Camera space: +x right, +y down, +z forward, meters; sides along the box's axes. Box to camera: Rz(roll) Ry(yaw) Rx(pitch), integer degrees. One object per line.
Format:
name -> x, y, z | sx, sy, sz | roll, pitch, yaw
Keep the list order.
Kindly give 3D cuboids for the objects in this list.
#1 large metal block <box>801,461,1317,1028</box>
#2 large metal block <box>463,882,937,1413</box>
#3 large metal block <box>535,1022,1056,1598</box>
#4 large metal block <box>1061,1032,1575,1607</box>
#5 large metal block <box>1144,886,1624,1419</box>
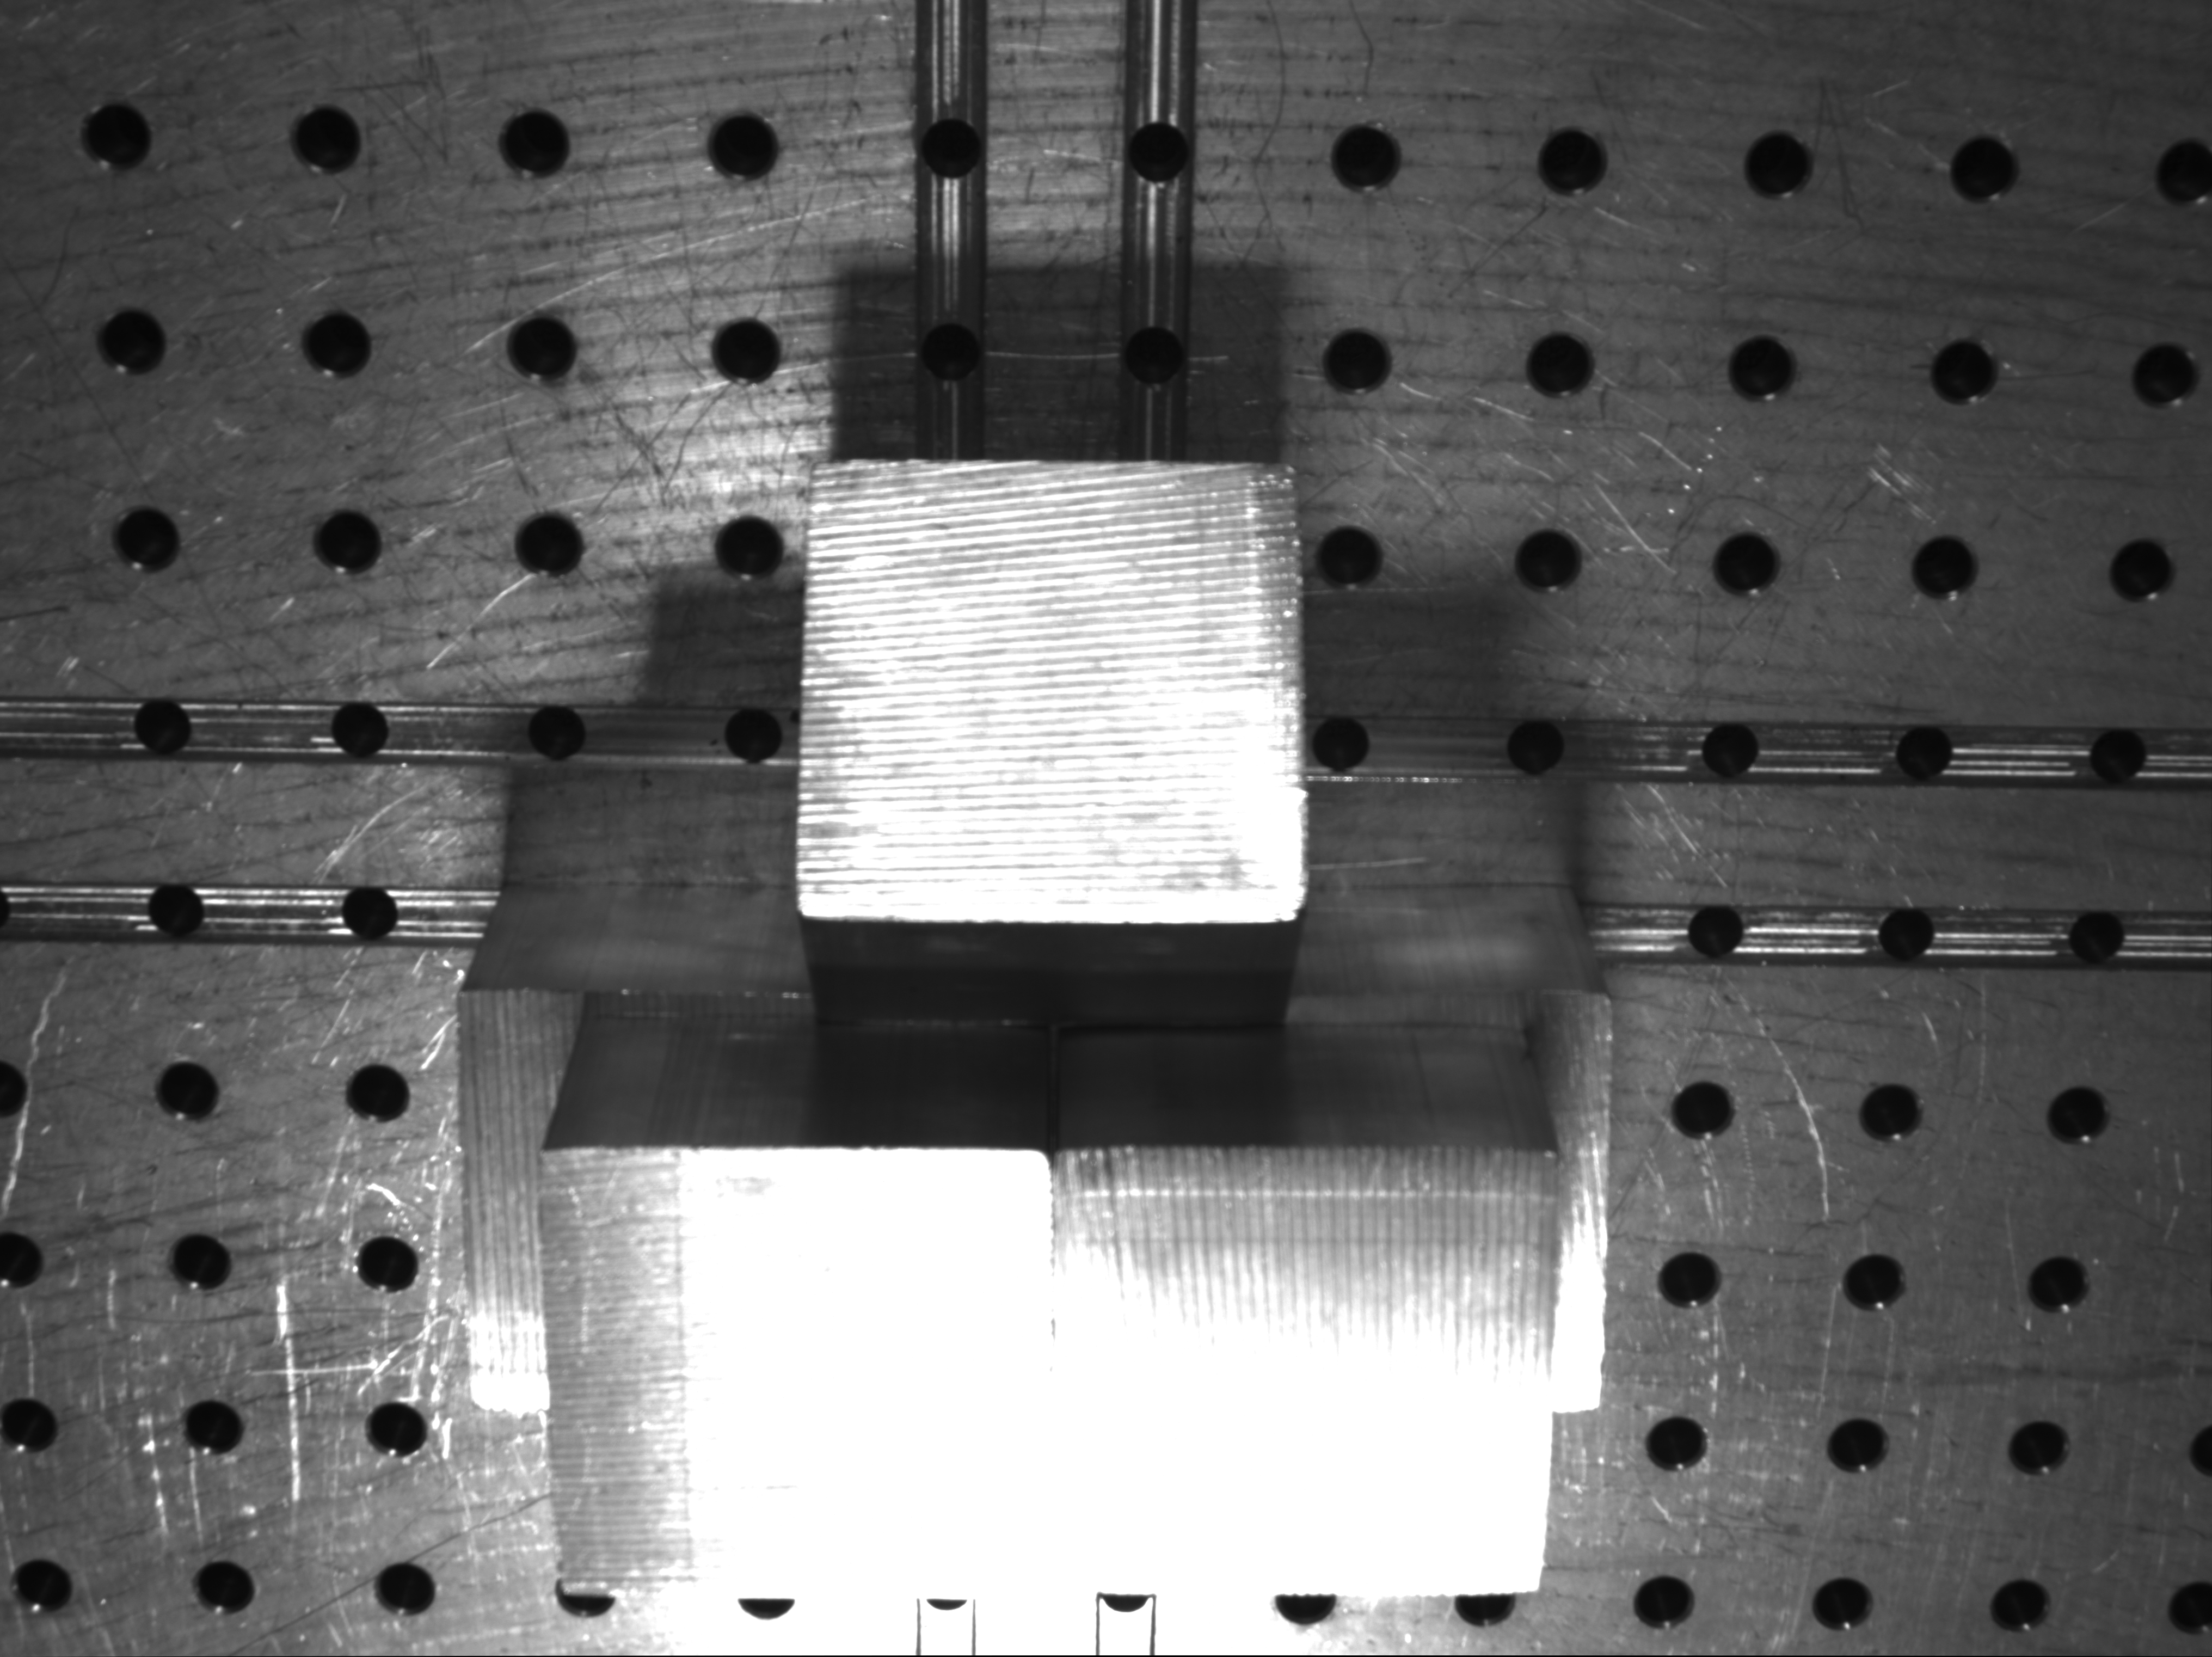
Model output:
large metal block -> -0.008, -0.013, 0.606 | 0.080, 0.050, 0.080 | 0, 68, -1
large metal block -> -0.069, 0.057, 0.653 | 0.080, 0.050, 0.080 | 1, 110, -1
large metal block -> -0.048, 0.079, 0.604 | 0.080, 0.050, 0.080 | 0, 110, -1
large metal block -> 0.033, 0.081, 0.607 | 0.080, 0.050, 0.080 | 0, 110, -1
large metal block -> 0.048, 0.057, 0.653 | 0.080, 0.050, 0.080 | -1, 110, 0
